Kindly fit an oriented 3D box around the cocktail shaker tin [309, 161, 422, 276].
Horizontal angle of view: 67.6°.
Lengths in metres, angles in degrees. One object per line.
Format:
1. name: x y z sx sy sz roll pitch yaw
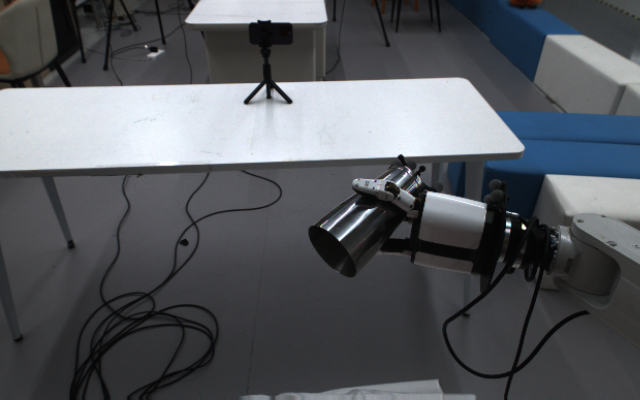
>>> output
1. cocktail shaker tin: 0.075 0.018 0.702 0.170 0.093 0.093 -39 50 -24
